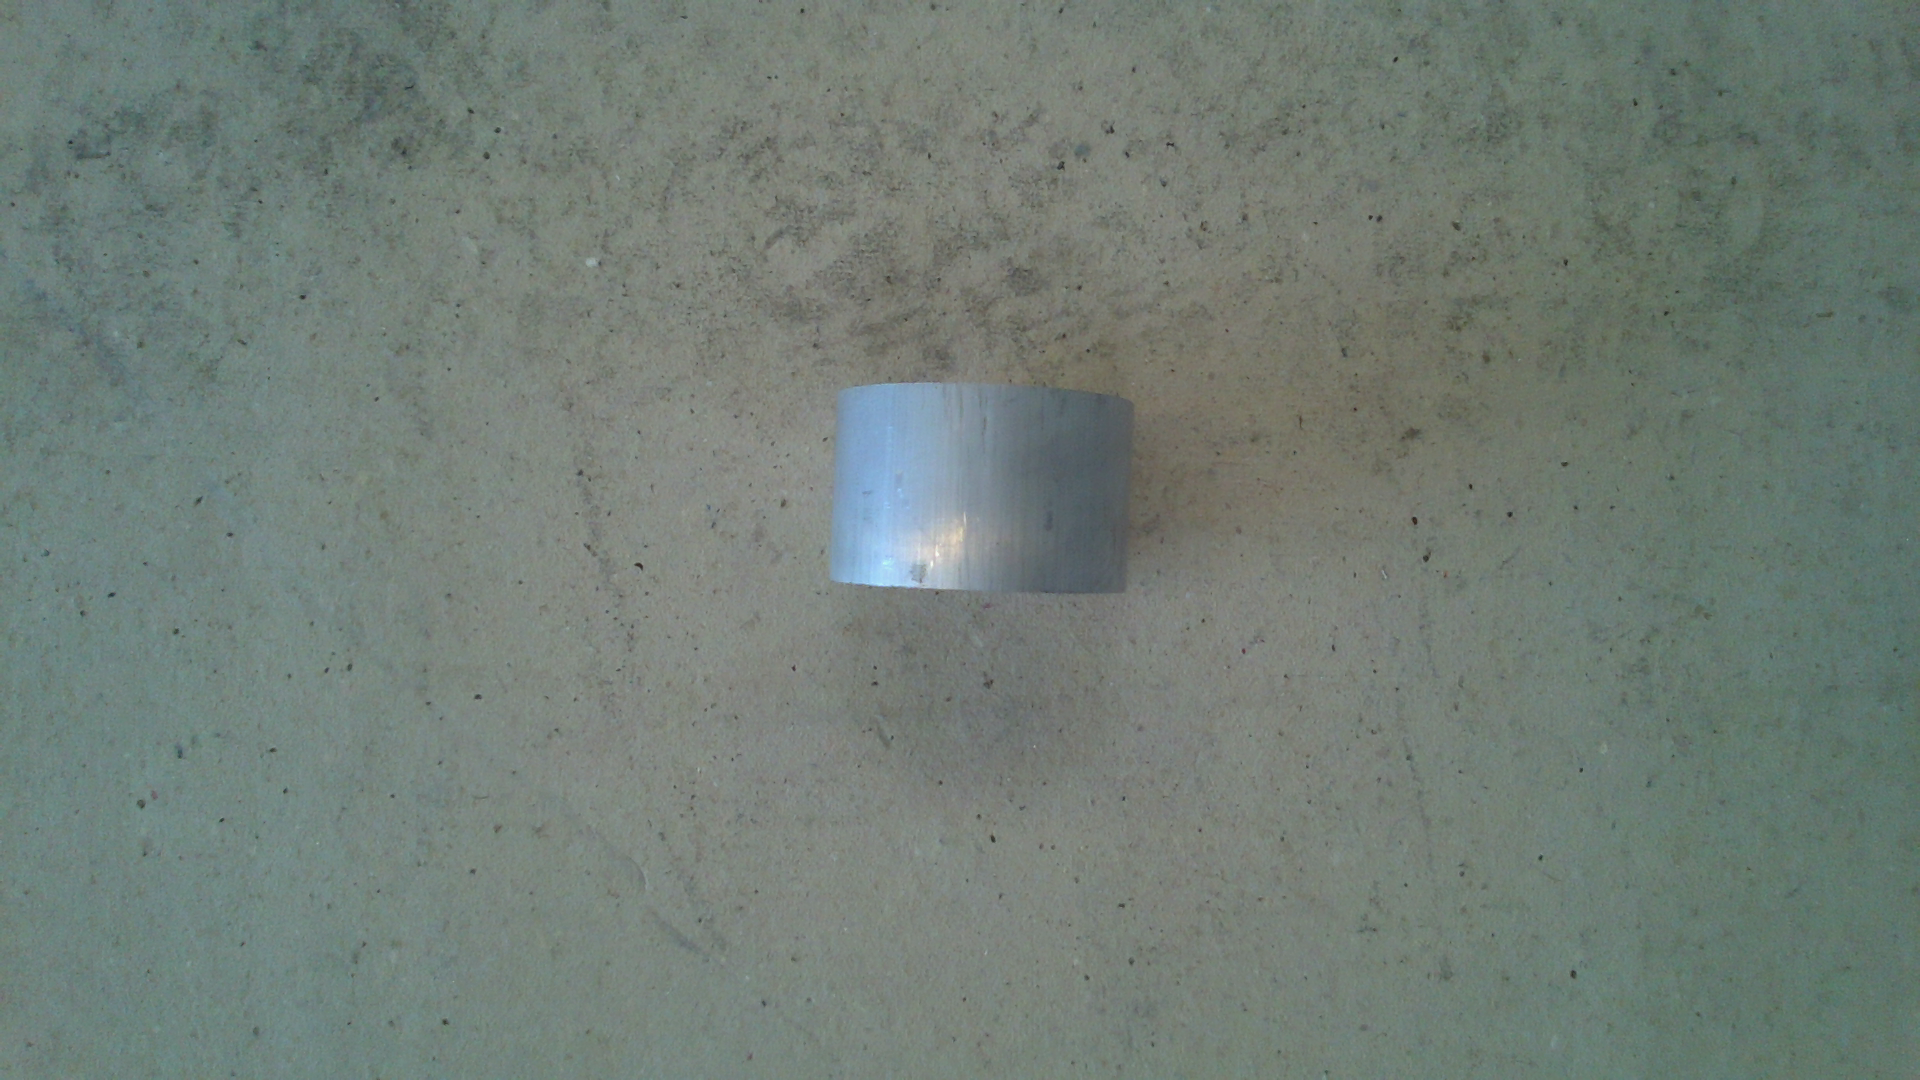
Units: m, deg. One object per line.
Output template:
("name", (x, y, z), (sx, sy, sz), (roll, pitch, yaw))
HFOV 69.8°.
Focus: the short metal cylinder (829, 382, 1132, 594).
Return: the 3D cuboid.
("short metal cylinder", (0.006, -0.013, 0.368), (0.080, 0.080, 0.050), (2, 90, 0))
